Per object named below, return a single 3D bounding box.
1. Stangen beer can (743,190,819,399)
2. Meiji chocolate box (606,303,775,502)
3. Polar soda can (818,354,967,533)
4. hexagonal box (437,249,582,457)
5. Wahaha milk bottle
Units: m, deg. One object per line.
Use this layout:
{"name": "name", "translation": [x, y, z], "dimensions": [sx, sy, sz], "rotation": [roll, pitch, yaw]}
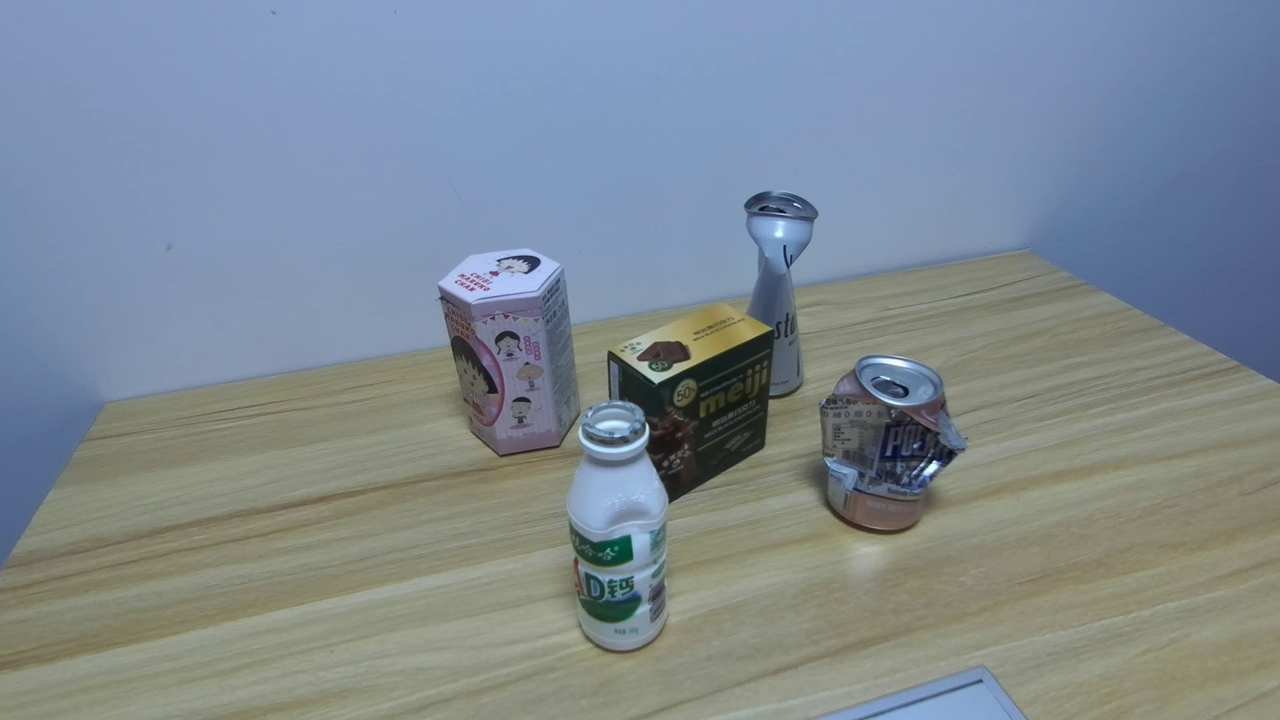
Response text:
{"name": "Stangen beer can", "translation": [0.108, -0.049, 0.571], "dimensions": [0.066, 0.162, 0.076], "rotation": [-19, 35, -26]}
{"name": "Meiji chocolate box", "translation": [0.037, 0.031, 0.502], "dimensions": [0.110, 0.109, 0.056], "rotation": [-24, 39, -30]}
{"name": "Polar soda can", "translation": [0.160, 0.054, 0.456], "dimensions": [0.074, 0.114, 0.070], "rotation": [-19, 42, -18]}
{"name": "hexagonal box", "translation": [-0.097, -0.005, 0.543], "dimensions": [0.084, 0.136, 0.091], "rotation": [-27, 39, -35]}
{"name": "Wahaha milk bottle", "translation": [-0.011, 0.095, 0.379], "dimensions": [0.053, 0.137, 0.053], "rotation": [0, 32, 1]}
